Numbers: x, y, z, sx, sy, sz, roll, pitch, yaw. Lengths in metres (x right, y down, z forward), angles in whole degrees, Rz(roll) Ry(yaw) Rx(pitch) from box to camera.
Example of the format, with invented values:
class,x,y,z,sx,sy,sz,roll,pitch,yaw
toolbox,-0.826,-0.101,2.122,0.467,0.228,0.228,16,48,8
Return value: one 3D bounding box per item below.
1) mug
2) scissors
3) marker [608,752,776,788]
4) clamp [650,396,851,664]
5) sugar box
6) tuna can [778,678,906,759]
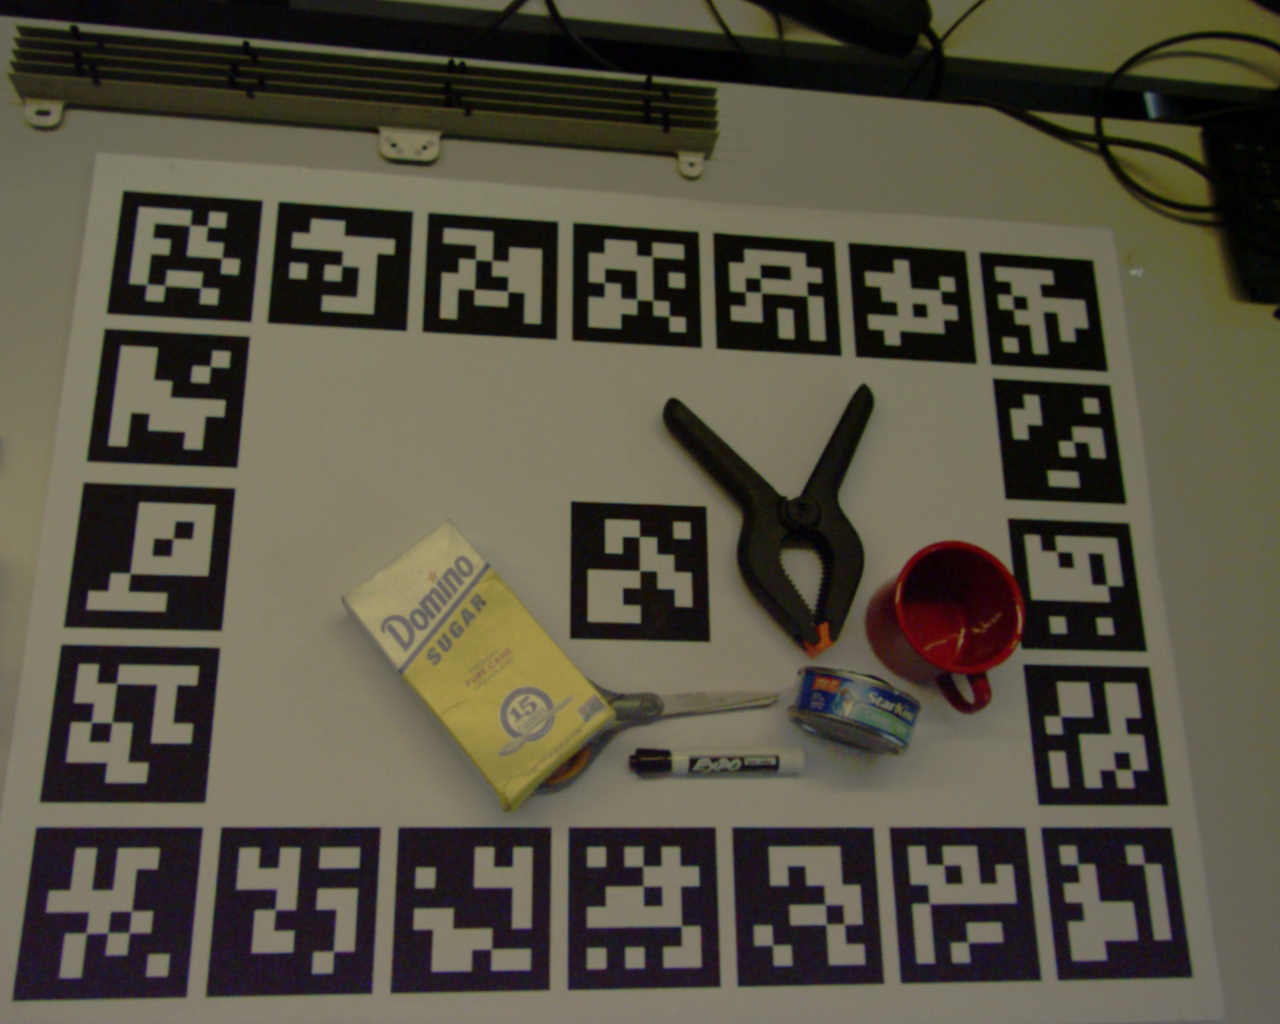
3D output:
class,x,y,z,sx,sy,sz,roll,pitch,yaw
mug,0.200,0.099,0.839,0.093,0.081,0.118,-25,77,-15
scissors,-0.008,0.143,0.821,0.201,0.016,0.088,-8,72,-13
marker,0.037,0.186,0.819,0.120,0.020,0.020,-2,76,-9
clamp,0.105,0.016,0.879,0.164,0.037,0.203,-8,77,-12
sugar box,-0.111,0.114,0.797,0.092,0.045,0.177,-35,77,-16
tuna can,0.143,0.147,0.812,0.085,0.086,0.034,19,72,-4
